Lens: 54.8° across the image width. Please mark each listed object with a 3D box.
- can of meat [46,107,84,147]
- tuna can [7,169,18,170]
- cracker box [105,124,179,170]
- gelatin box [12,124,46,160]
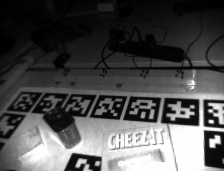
[{"bbox_3d":[-0.136,0.123,0.640,0.100,0.084,0.058,24,52,40],"label":"can of meat"},{"bbox_3d":[-0.255,0.256,0.535,0.085,0.034,0.085,-9,41,9],"label":"tuna can"},{"bbox_3d":[0.068,0.195,0.496,0.164,0.072,0.212,-9,37,4],"label":"cracker box"},{"bbox_3d":[-0.250,0.167,0.651,0.074,0.030,0.088,-28,43,-22],"label":"gelatin box"}]
